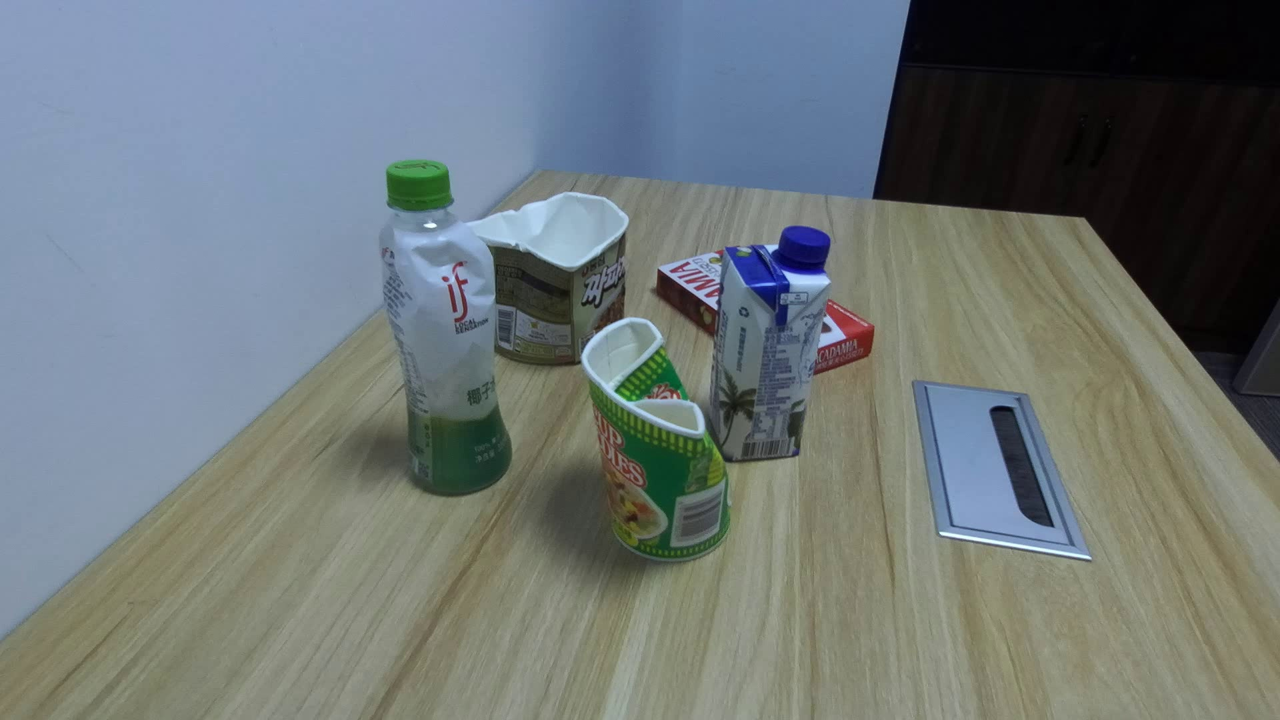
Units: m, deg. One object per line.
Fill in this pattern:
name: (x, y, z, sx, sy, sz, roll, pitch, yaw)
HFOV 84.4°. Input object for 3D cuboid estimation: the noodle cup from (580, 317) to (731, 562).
noodle cup: (0.015, 0.044, 0.378, 0.075, 0.122, 0.083, 5, 42, 20)

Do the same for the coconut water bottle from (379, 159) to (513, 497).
coconut water bottle: (-0.111, -0.015, 0.398, 0.067, 0.187, 0.067, 1, 30, 0)

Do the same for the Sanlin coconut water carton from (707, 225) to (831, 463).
Sanlin coconut water carton: (0.077, -0.009, 0.432, 0.061, 0.144, 0.060, -6, 34, -8)

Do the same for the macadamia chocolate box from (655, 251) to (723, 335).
macadamia chocolate box: (0.100, -0.043, 0.598, 0.096, 0.027, 0.177, -17, 37, -26)

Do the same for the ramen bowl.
ramen bowl: (-0.063, -0.071, 0.568, 0.113, 0.097, 0.134, 17, 37, 24)
